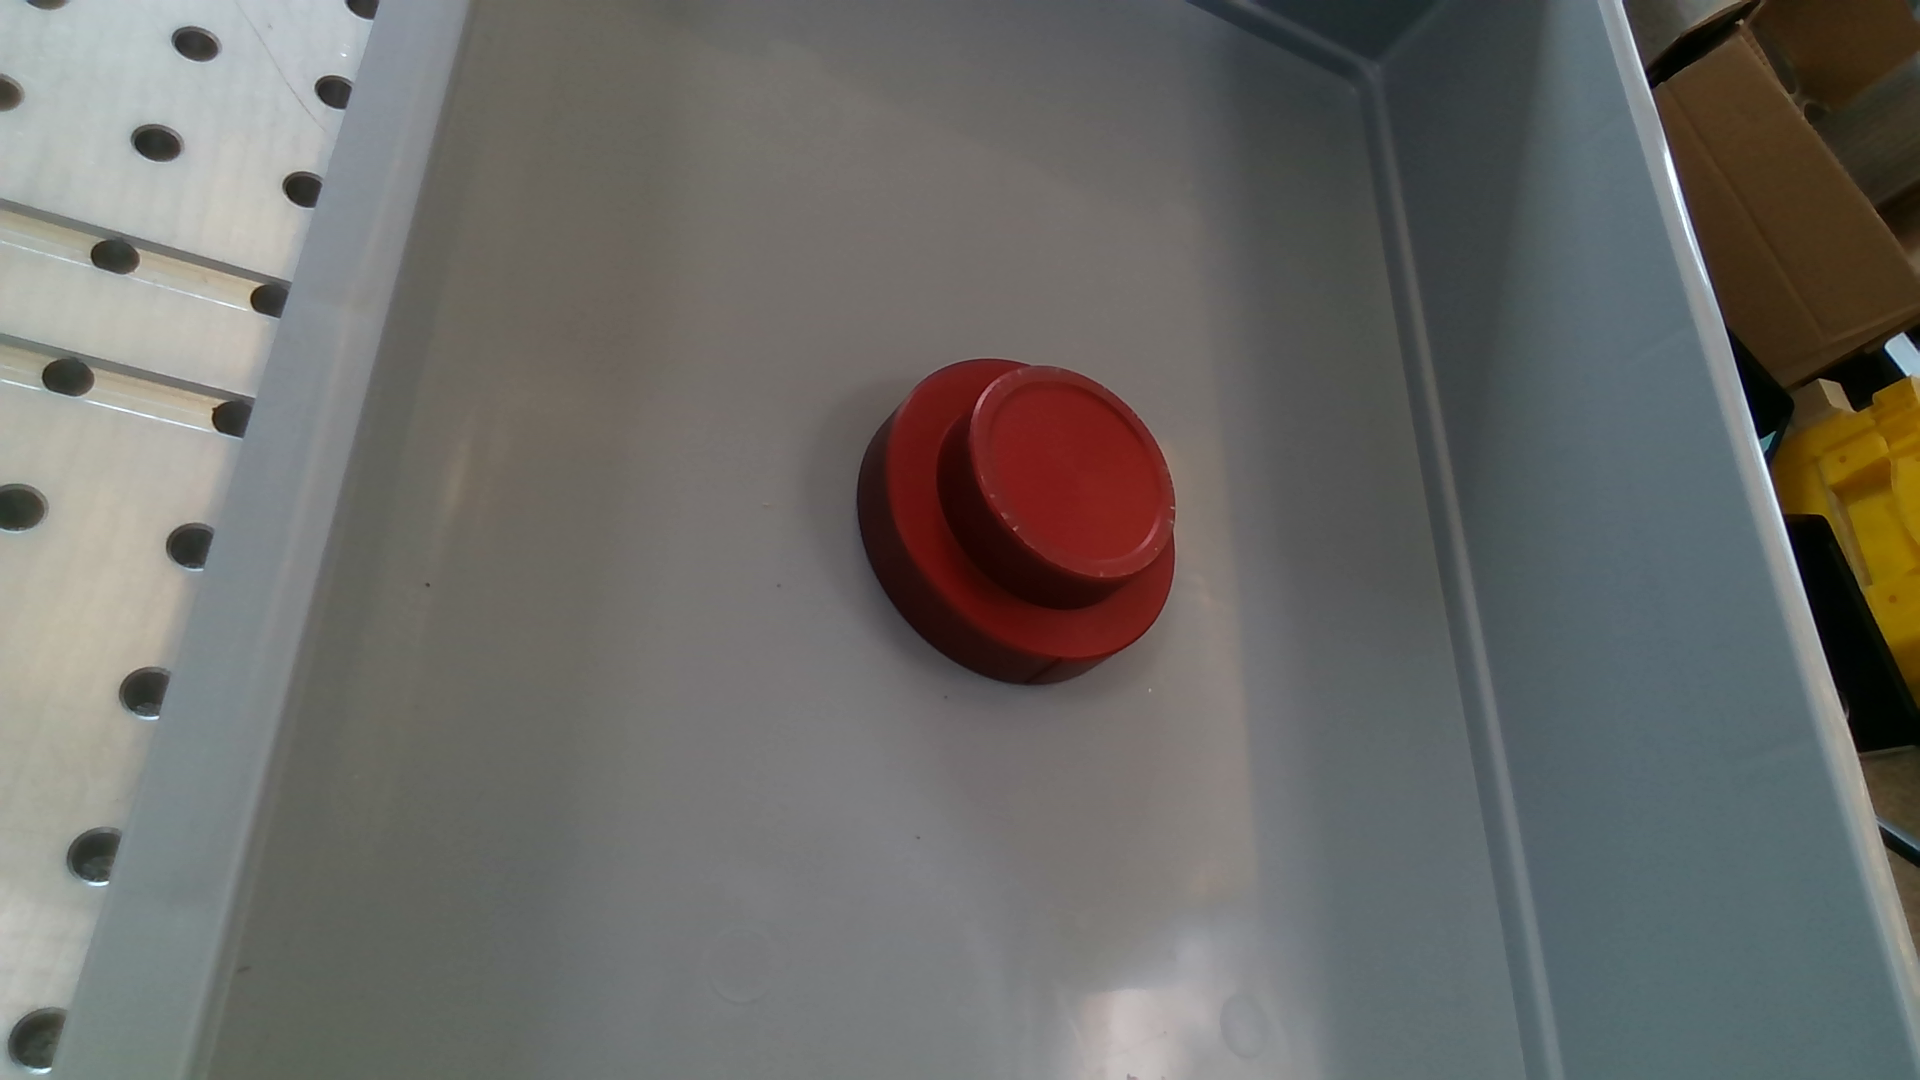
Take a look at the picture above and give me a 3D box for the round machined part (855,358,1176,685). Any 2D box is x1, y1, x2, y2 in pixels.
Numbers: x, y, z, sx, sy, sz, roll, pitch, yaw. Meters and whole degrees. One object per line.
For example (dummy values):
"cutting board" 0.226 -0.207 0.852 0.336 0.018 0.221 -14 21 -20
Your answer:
"round machined part" 0.023 -0.011 0.399 0.098 0.042 0.098 14 59 -25
